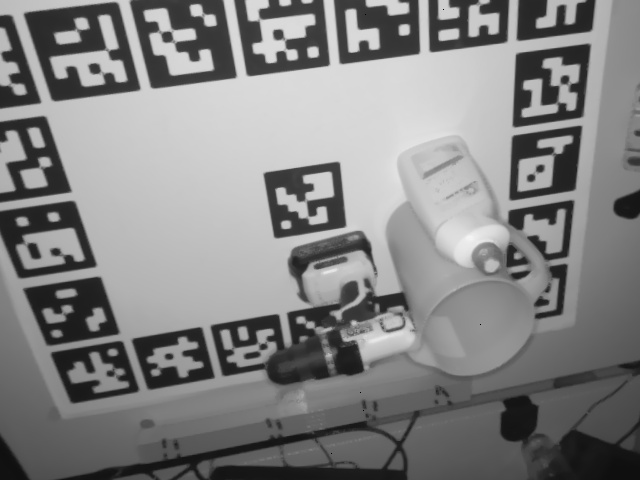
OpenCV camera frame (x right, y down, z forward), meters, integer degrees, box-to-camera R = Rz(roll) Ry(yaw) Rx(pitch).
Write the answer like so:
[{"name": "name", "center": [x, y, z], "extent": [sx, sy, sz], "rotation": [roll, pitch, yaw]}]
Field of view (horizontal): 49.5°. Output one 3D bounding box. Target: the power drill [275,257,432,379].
[{"name": "power drill", "center": [0.037, 0.096, 0.865], "extent": [0.184, 0.188, 0.057], "rotation": [-11, 116, 3]}]

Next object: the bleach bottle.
[{"name": "bleach bottle", "center": [0.205, -0.022, 0.798], "extent": [0.103, 0.251, 0.067], "rotation": [-16, 118, -1]}]

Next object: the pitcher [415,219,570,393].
[{"name": "pitcher", "center": [0.202, 0.059, 0.862], "extent": [0.188, 0.243, 0.133], "rotation": [-33, 116, 8]}]
